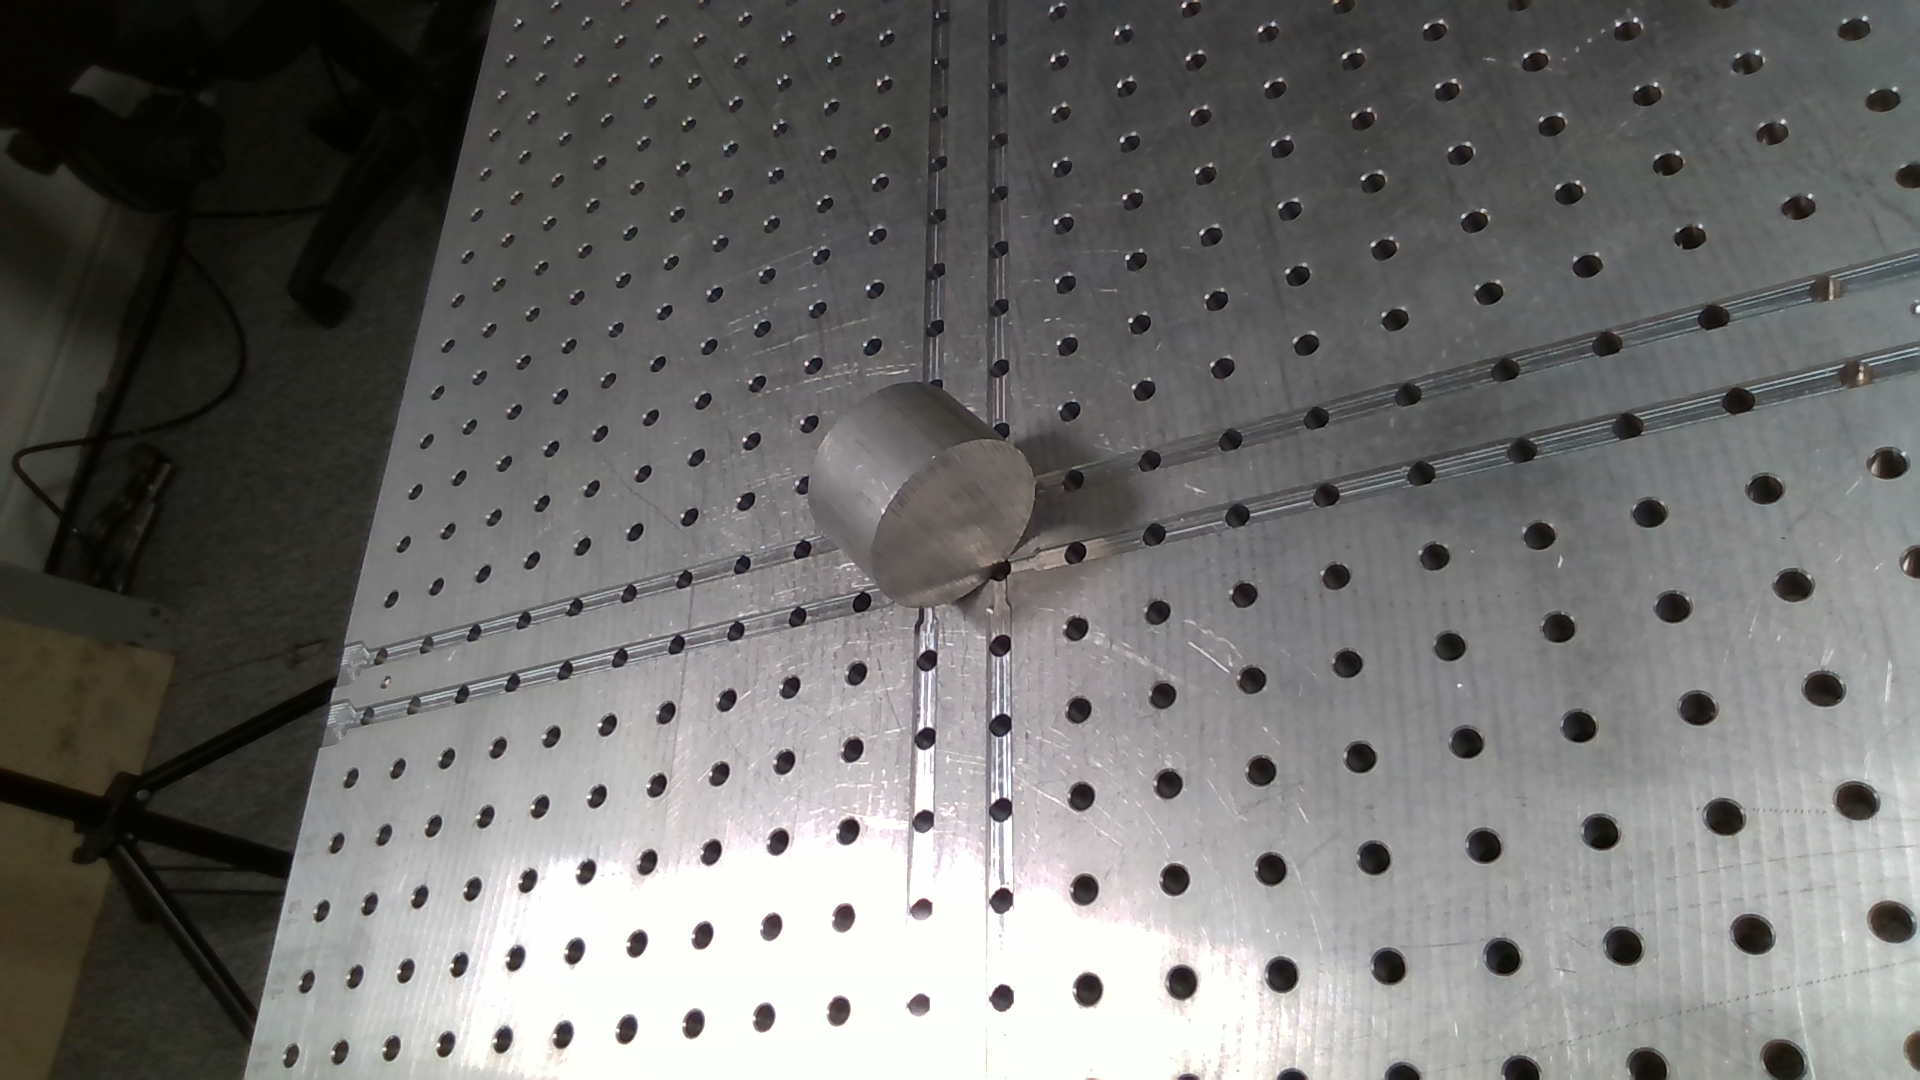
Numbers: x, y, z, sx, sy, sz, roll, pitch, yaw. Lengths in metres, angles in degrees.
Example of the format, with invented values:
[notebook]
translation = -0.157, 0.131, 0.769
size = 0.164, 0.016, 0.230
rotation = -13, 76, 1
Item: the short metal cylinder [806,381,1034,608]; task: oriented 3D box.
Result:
[short metal cylinder]
translation = -0.016, -0.019, 0.572
size = 0.080, 0.080, 0.050
rotation = -48, 51, 1
